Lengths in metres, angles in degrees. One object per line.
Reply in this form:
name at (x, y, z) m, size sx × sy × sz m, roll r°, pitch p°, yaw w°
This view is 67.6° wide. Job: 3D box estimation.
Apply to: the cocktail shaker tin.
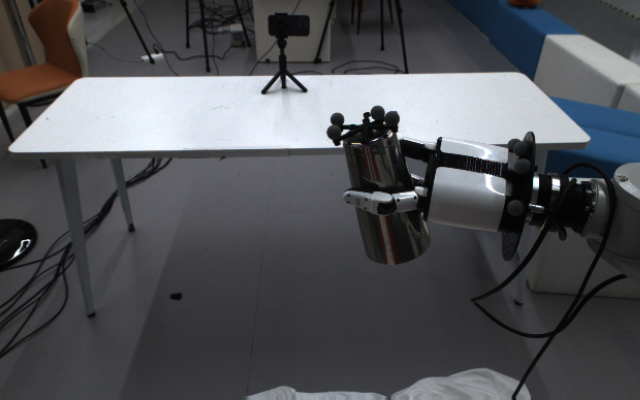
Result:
cocktail shaker tin at (0.083, -0.011, 0.628) m, size 0.093 × 0.170 × 0.093 m, roll -15°, pitch 29°, yaw 8°
